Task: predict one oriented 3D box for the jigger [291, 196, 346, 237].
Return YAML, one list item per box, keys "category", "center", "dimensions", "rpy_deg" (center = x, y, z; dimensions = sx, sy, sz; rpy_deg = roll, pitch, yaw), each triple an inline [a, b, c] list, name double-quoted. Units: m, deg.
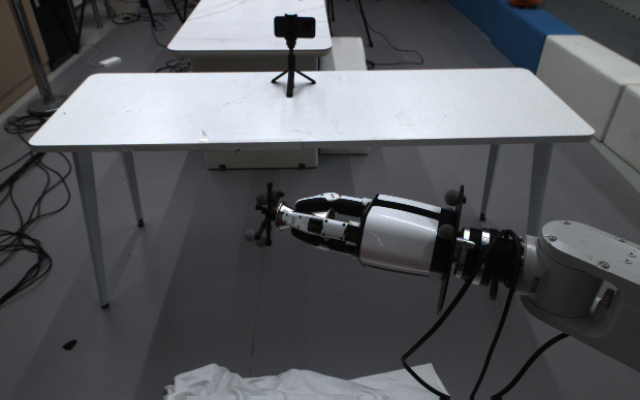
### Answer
- category: "jigger"
  center: [-0.013, 0.022, 0.628]
  dimensions: [0.071, 0.043, 0.043]
  rpy_deg: [8, 35, 16]
